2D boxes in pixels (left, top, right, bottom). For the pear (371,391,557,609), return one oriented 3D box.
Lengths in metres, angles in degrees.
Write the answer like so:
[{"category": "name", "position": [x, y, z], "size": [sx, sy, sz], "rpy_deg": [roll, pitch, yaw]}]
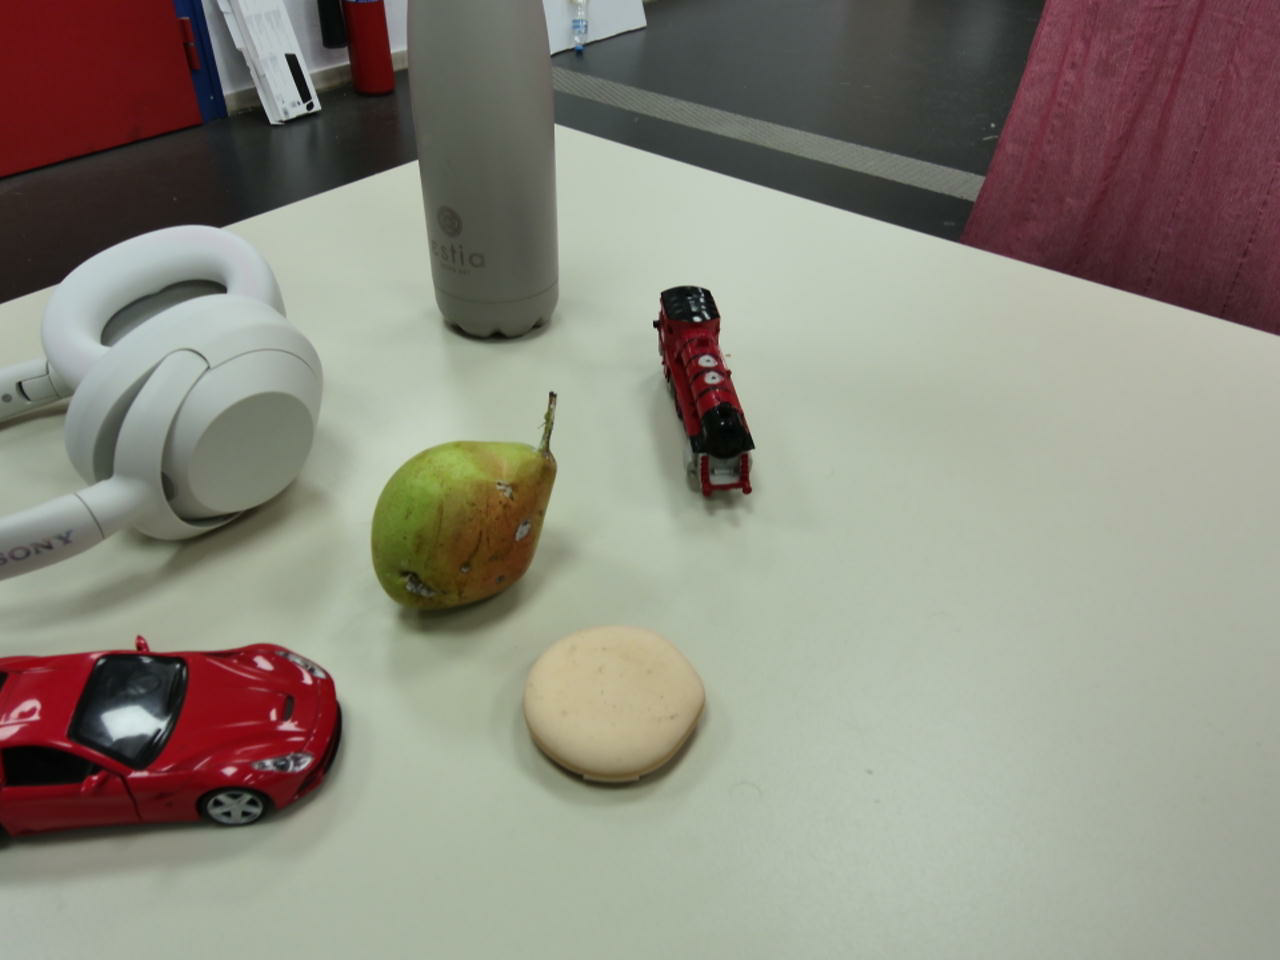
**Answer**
[{"category": "pear", "position": [-0.067, 0.013, 0.384], "size": [0.070, 0.069, 0.068], "rpy_deg": [-1, 36, -1]}]
